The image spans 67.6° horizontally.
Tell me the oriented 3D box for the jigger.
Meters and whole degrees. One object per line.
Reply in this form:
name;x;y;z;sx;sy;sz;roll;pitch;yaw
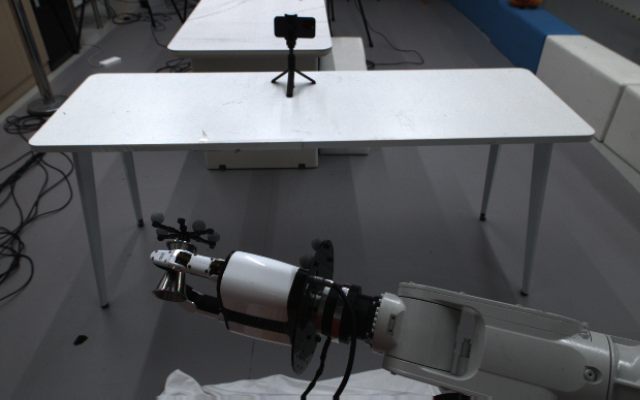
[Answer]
jigger;-0.184;0.089;0.613;0.043;0.043;0.071;4;61;3
